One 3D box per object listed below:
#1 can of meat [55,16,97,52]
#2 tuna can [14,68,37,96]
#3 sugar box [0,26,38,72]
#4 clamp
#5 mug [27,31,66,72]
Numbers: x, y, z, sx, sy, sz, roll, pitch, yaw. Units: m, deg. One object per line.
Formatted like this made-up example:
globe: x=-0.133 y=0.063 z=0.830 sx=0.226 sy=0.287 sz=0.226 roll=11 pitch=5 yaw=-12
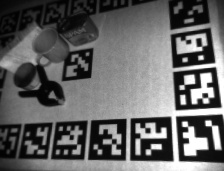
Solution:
can of meat: x=-0.104 y=-0.151 z=0.650 sx=0.101 sy=0.085 sz=0.057 roll=-14 pitch=67 yaw=15
tuna can: x=-0.283 y=-0.010 z=0.692 sx=0.085 sy=0.034 sz=0.085 roll=-6 pitch=73 yaw=19
sugar box: x=-0.287 y=-0.100 z=0.697 sx=0.176 sy=0.094 sz=0.045 roll=-41 pitch=61 yaw=3
clamp: x=-0.210 y=0.037 z=0.655 sx=0.163 sy=0.037 sz=0.122 roll=32 pitch=82 yaw=22
mug: x=-0.202 y=-0.095 z=0.660 sx=0.092 sy=0.082 sz=0.117 roll=21 pitch=83 yaw=25
